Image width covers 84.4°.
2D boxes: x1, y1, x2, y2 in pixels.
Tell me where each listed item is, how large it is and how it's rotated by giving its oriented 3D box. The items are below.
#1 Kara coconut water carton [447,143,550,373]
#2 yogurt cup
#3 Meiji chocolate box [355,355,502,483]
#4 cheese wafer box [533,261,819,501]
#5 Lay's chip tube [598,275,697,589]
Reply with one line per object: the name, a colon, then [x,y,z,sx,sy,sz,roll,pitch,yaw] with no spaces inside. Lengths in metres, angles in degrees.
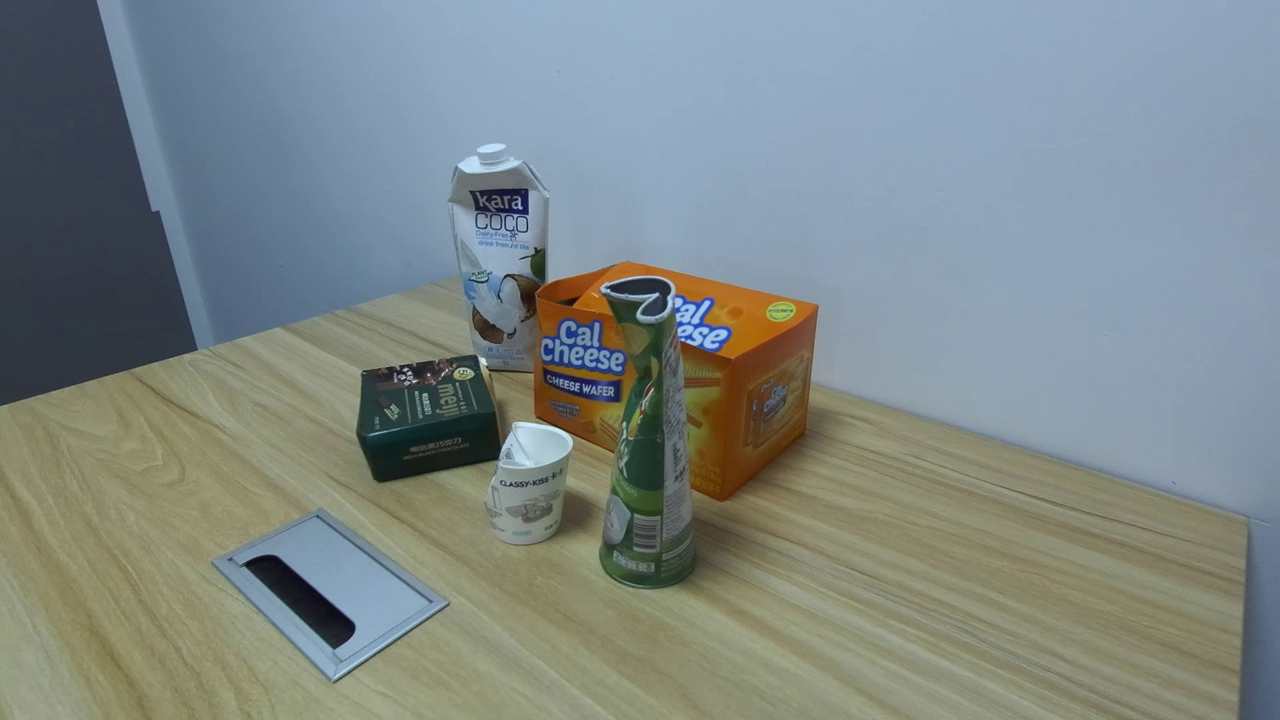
Kara coconut water carton: [-0.144,-0.105,0.748,0.115,0.238,0.069,4,26,8]
yogurt cup: [-0.082,0.092,0.520,0.067,0.070,0.067,0,24,0]
Meiji chocolate box: [-0.188,0.051,0.635,0.123,0.058,0.115,-9,31,-17]
cheese wafer box: [0.023,0.006,0.642,0.229,0.132,0.153,19,31,35]
Lay's chip tube: [0.006,0.048,0.456,0.077,0.201,0.069,19,32,38]
